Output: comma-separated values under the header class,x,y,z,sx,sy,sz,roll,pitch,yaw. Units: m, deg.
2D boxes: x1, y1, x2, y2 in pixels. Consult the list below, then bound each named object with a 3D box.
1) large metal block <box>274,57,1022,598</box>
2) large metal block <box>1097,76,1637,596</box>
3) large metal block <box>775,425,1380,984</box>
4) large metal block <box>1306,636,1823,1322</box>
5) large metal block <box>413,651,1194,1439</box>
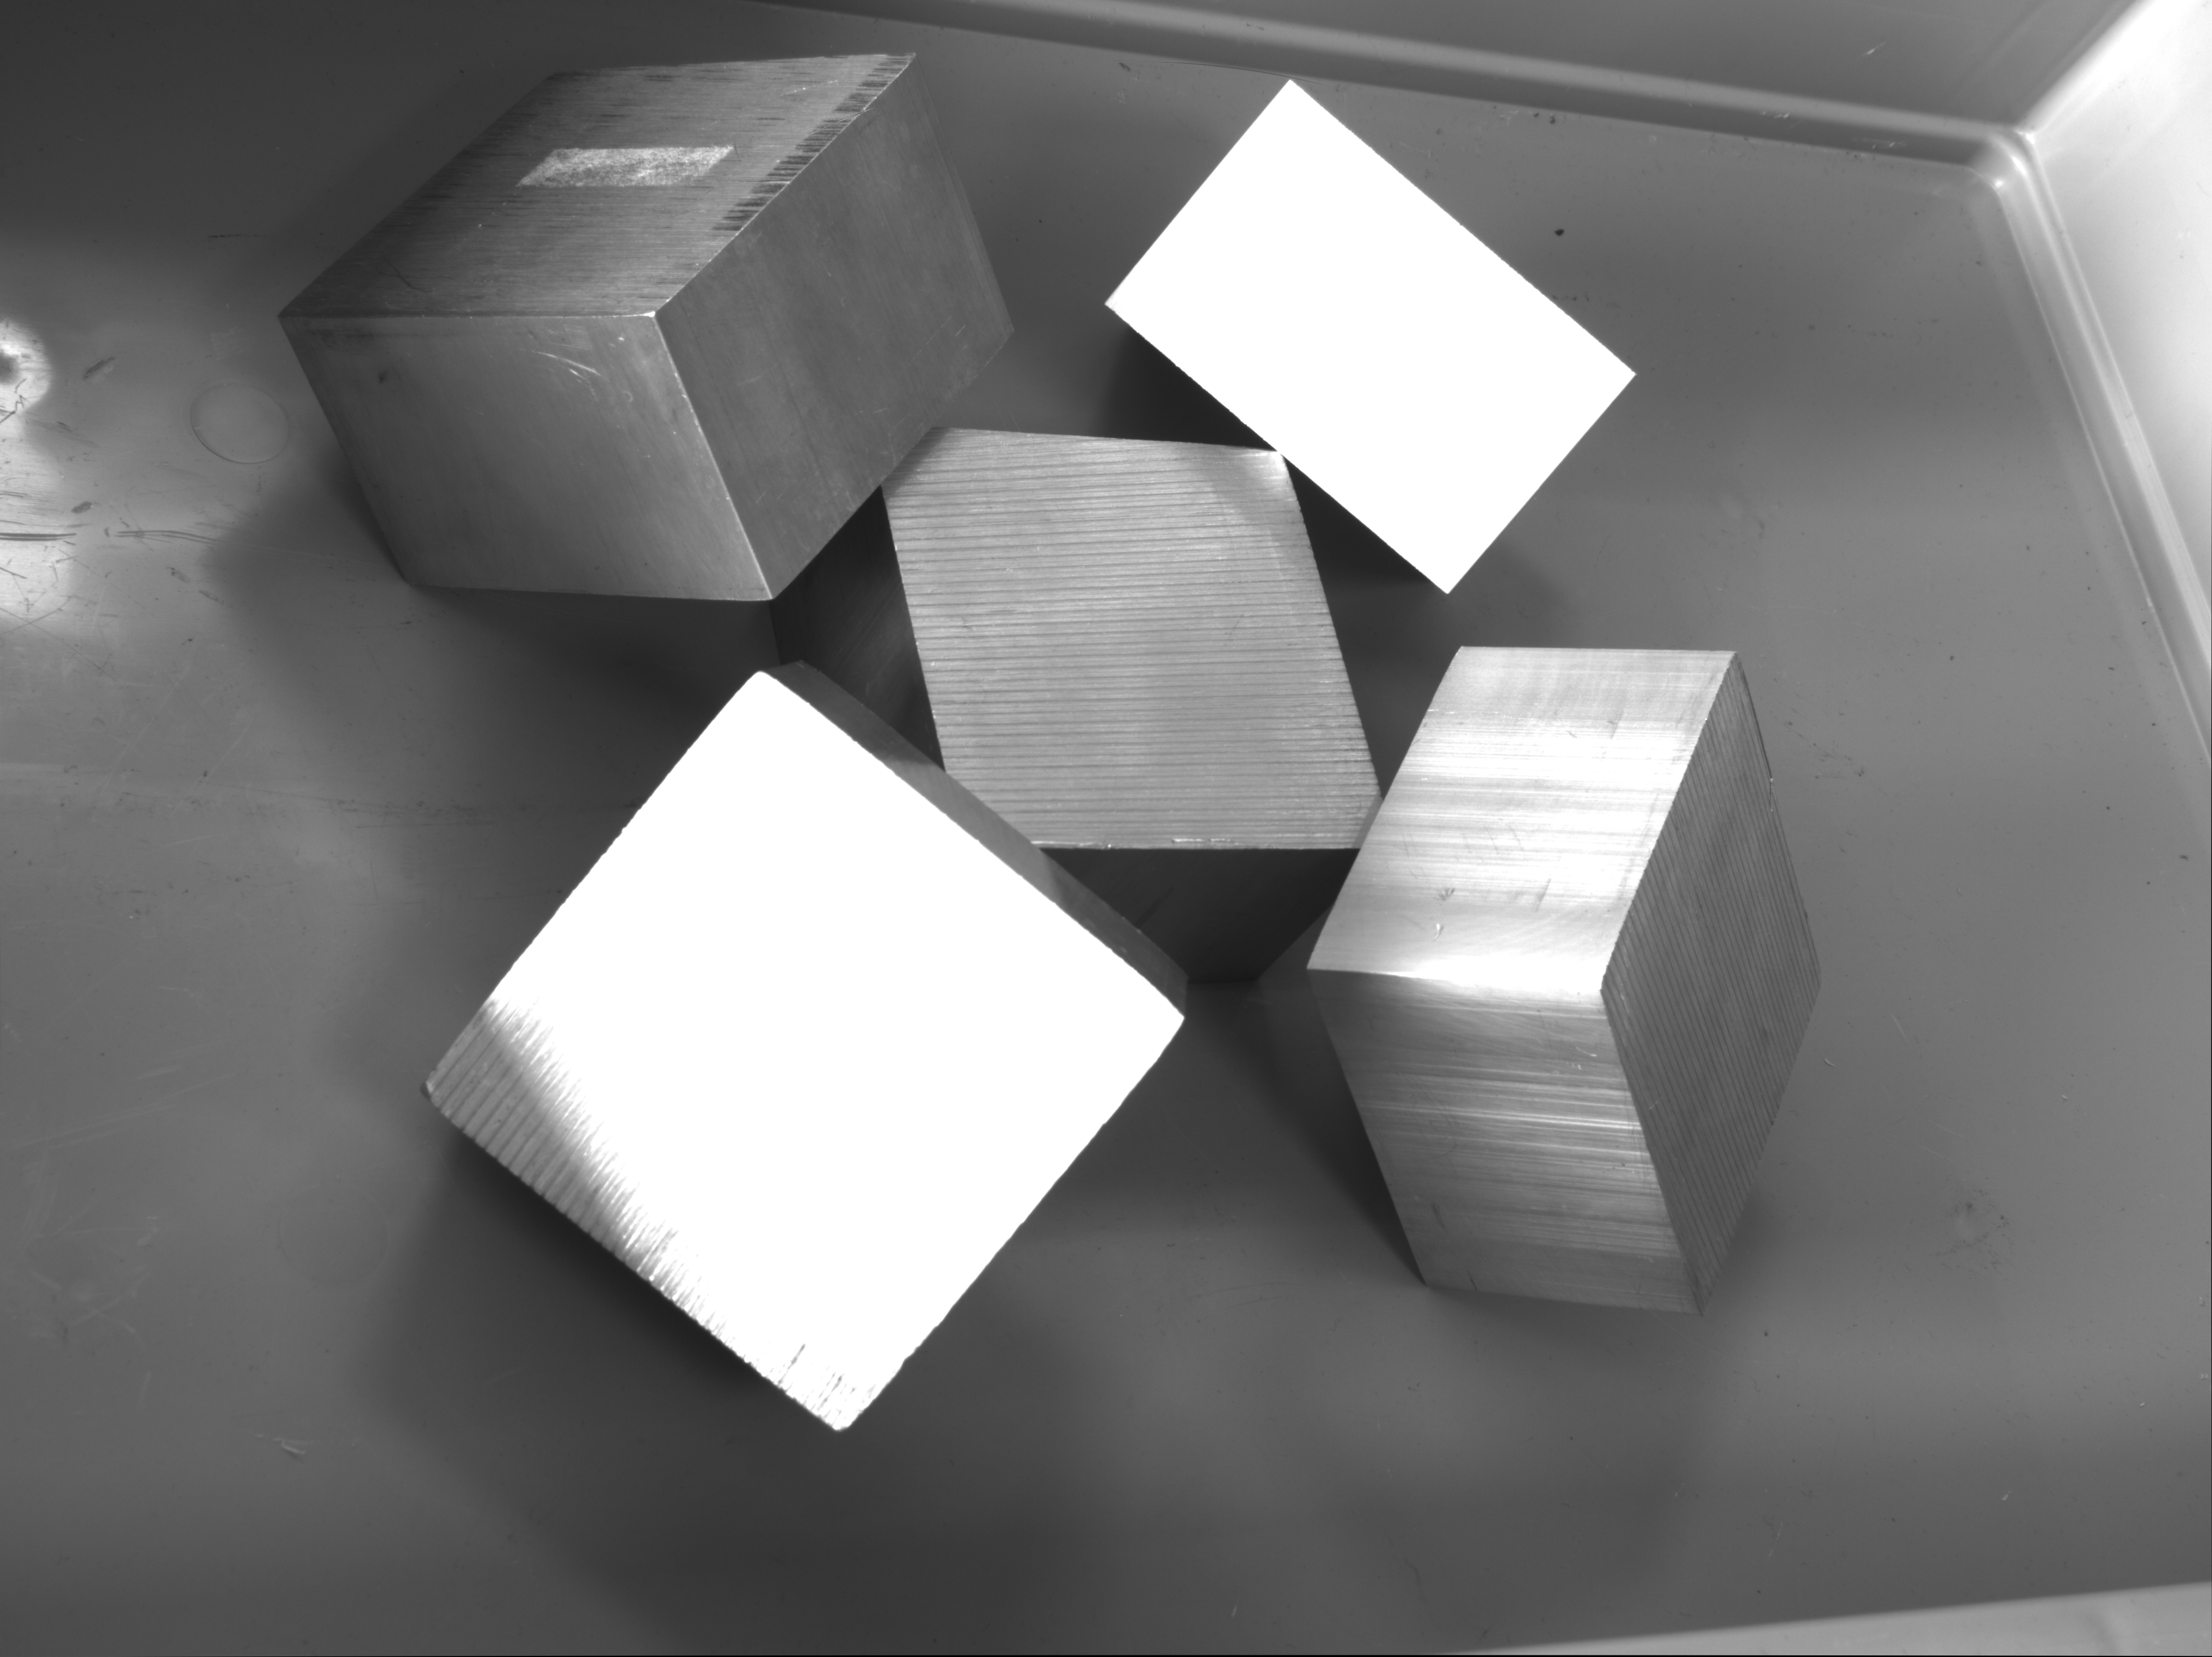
class,x,y,z,sx,sy,sz,roll,pitch,yaw
large metal block,-0.073,-0.083,0.603,0.080,0.080,0.050,-54,137,-39
large metal block,0.048,-0.089,0.675,0.080,0.050,0.080,40,8,0
large metal block,-0.005,-0.020,0.629,0.080,0.050,0.080,1,61,-28
large metal block,0.080,0.024,0.621,0.080,0.050,0.080,-62,143,-39
large metal block,-0.043,0.031,0.553,0.080,0.050,0.080,39,95,-2
